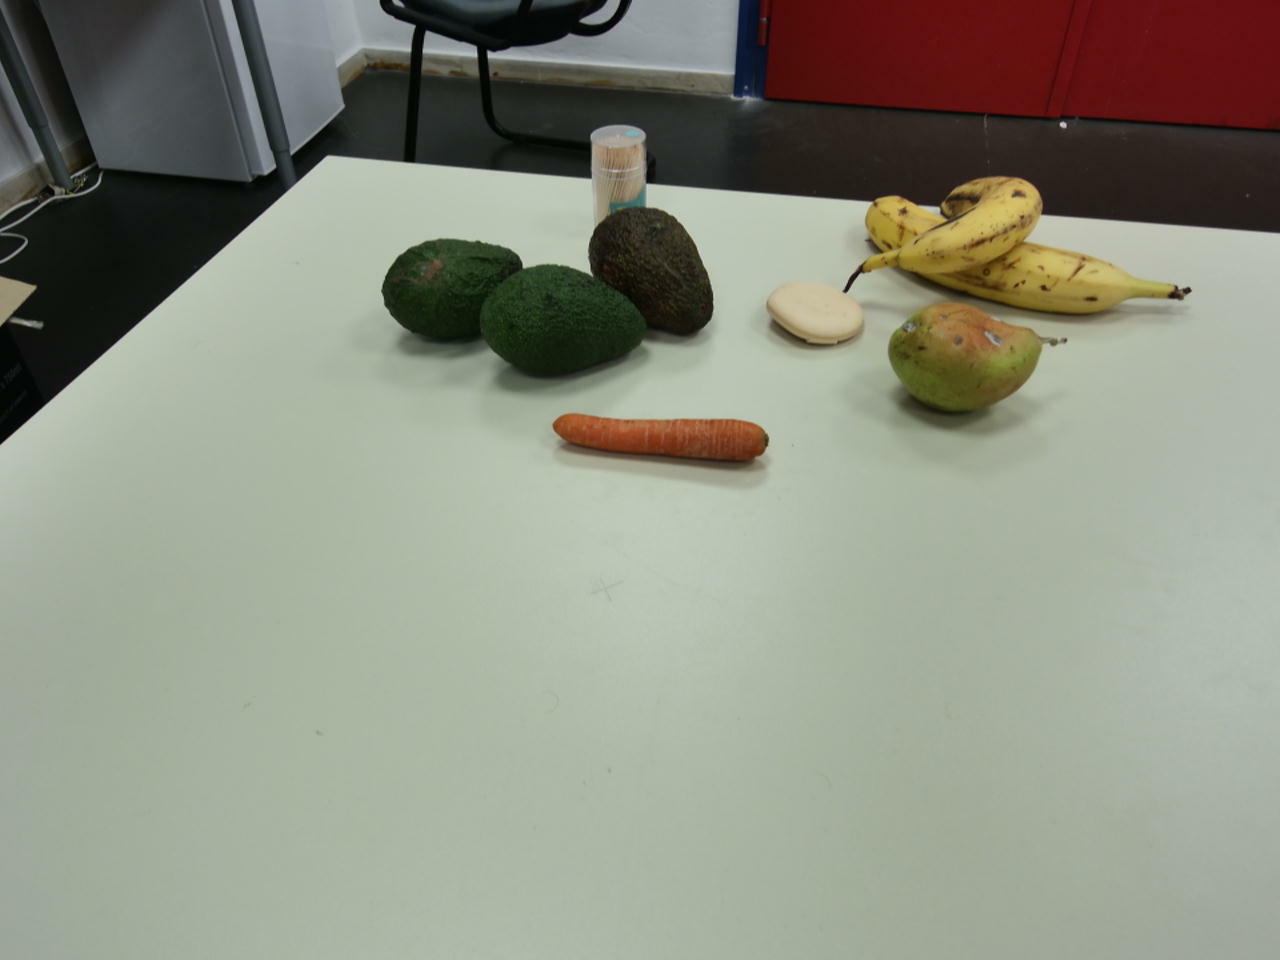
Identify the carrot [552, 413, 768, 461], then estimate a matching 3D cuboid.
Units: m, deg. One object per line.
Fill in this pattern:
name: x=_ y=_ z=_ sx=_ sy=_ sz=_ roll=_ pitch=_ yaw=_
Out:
carrot: x=0.011 y=-0.026 z=0.562 sx=0.122 sy=0.023 sz=0.024 roll=6 pitch=39 yaw=8
